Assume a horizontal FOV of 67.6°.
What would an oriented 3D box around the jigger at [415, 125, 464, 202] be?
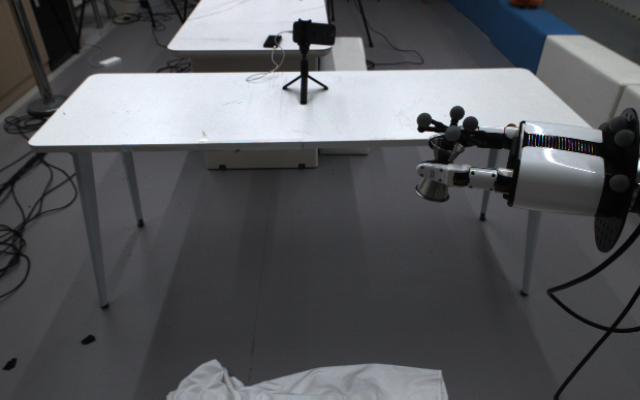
[{"bbox_3d":[0.146,-0.038,0.594,0.043,0.071,0.043,9,30,-5],"label":"jigger"}]
